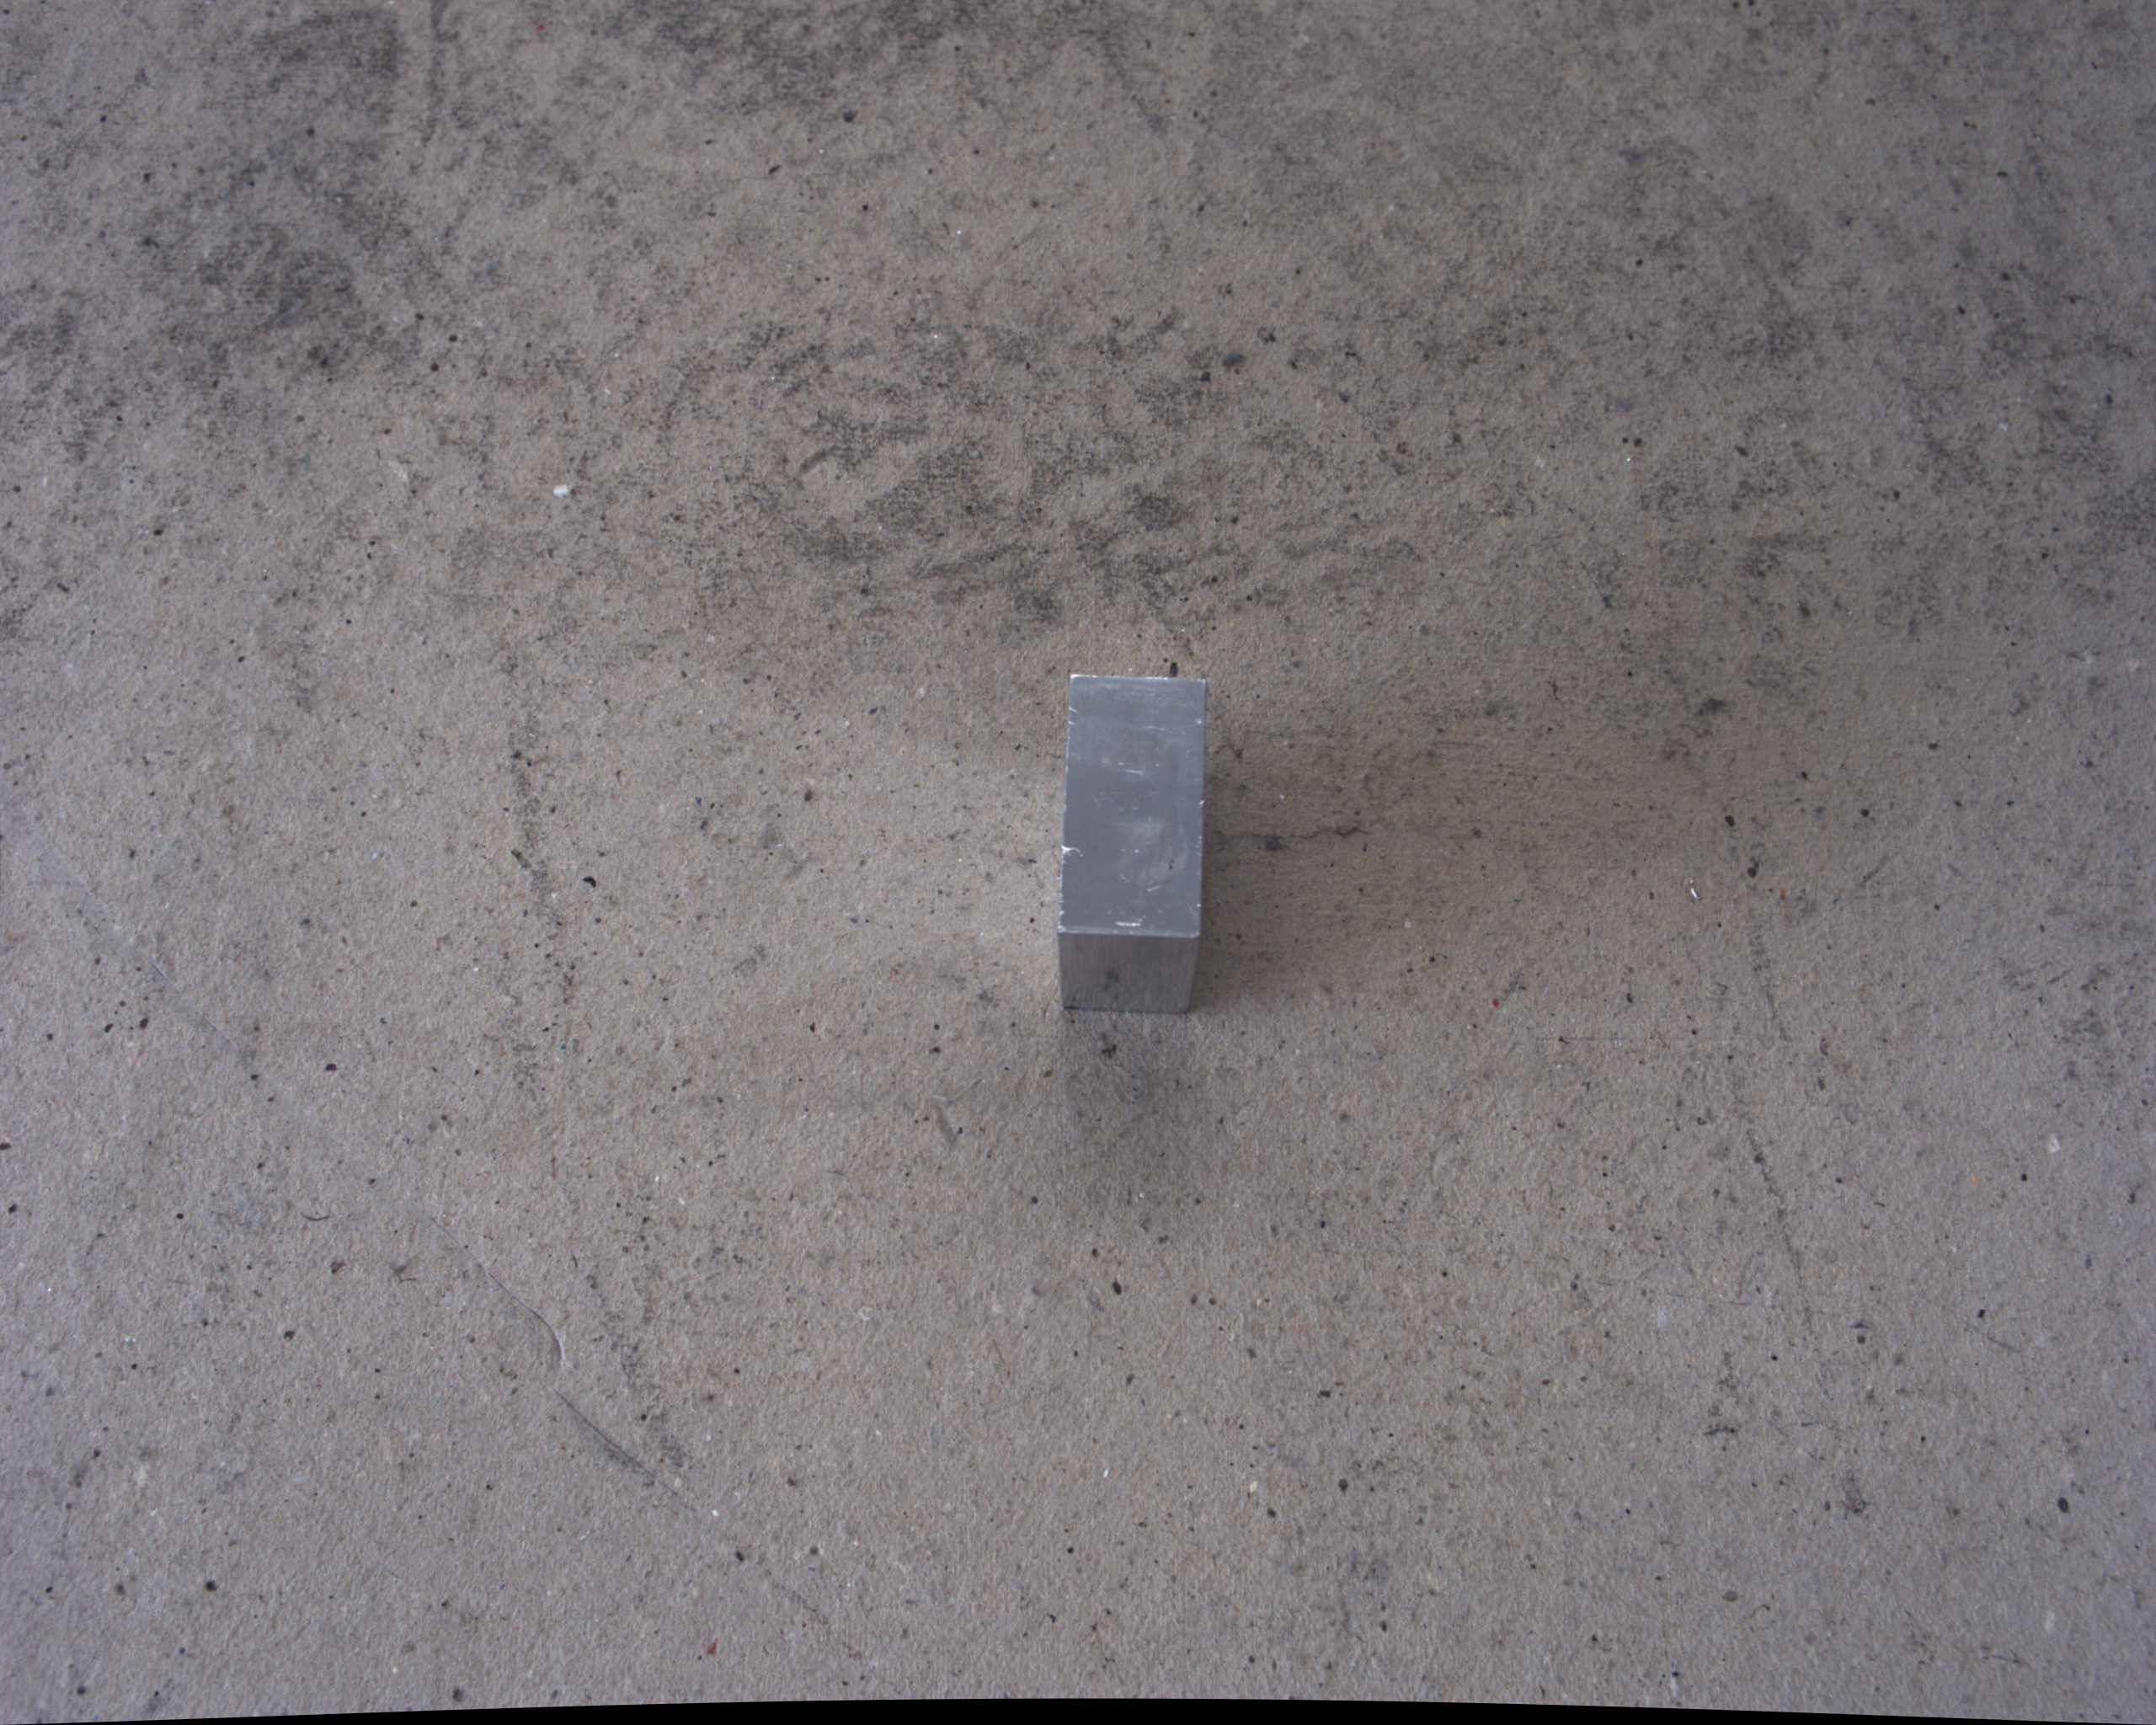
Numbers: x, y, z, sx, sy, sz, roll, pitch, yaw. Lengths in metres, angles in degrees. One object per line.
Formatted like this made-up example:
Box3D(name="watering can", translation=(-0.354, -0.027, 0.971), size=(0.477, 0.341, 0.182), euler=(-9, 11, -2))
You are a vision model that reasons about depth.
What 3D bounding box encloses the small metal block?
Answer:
Box3D(name="small metal block", translation=(0.010, -0.002, 0.397), size=(0.025, 0.050, 0.050), euler=(2, 70, 0))
